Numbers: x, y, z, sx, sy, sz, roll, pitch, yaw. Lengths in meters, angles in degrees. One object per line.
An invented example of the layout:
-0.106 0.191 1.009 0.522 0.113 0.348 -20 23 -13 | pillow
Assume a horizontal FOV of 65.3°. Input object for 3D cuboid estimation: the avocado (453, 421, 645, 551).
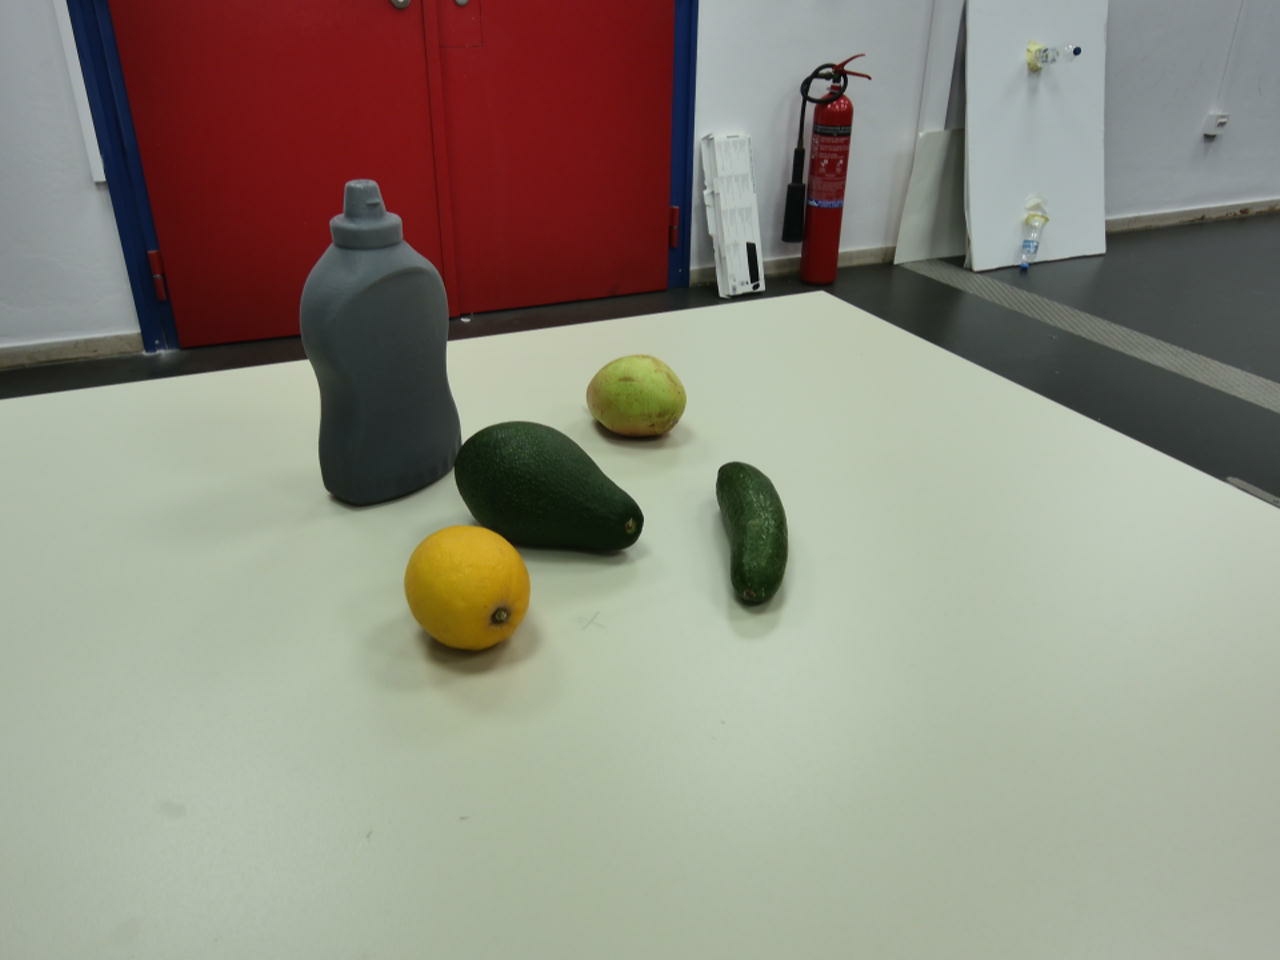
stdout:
-0.056 0.005 0.579 0.110 0.071 0.072 21 34 37 | avocado
